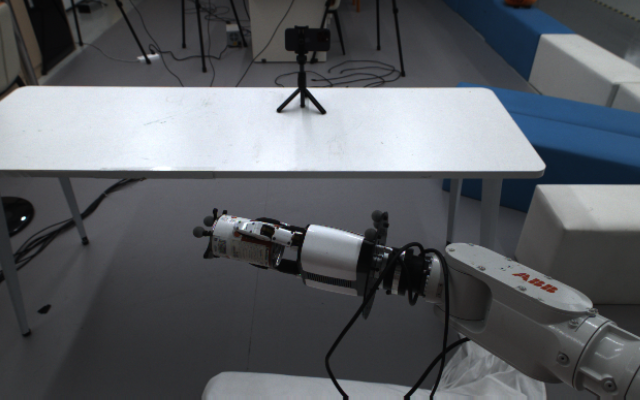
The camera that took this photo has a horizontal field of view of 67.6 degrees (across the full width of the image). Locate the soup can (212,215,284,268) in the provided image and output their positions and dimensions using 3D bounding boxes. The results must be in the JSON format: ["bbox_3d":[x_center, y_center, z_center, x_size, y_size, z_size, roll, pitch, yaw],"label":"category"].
[{"bbox_3d":[-0.109,0.064,0.749,0.101,0.067,0.067,10,35,10],"label":"soup can"}]
